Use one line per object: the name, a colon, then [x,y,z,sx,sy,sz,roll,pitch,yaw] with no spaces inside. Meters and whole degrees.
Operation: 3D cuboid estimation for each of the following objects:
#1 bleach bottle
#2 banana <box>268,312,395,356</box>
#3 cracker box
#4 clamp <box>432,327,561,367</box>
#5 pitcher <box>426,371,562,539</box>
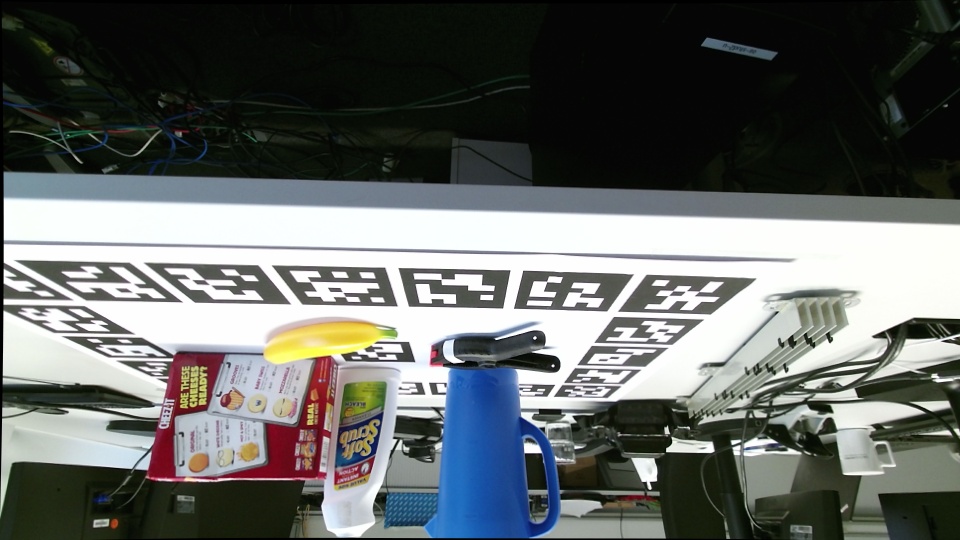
bleach bottle: [-0.170,0.267,0.798,0.103,0.249,0.068,1,156,-2]
banana: [-0.204,0.081,0.666,0.198,0.038,0.074,-14,152,28]
cracker box: [-0.321,0.207,0.736,0.214,0.163,0.072,1,158,-5]
clamp: [0.016,0.104,0.693,0.165,0.036,0.122,-4,156,14]
pitcher: [0.020,0.272,0.761,0.189,0.241,0.133,-5,155,16]
